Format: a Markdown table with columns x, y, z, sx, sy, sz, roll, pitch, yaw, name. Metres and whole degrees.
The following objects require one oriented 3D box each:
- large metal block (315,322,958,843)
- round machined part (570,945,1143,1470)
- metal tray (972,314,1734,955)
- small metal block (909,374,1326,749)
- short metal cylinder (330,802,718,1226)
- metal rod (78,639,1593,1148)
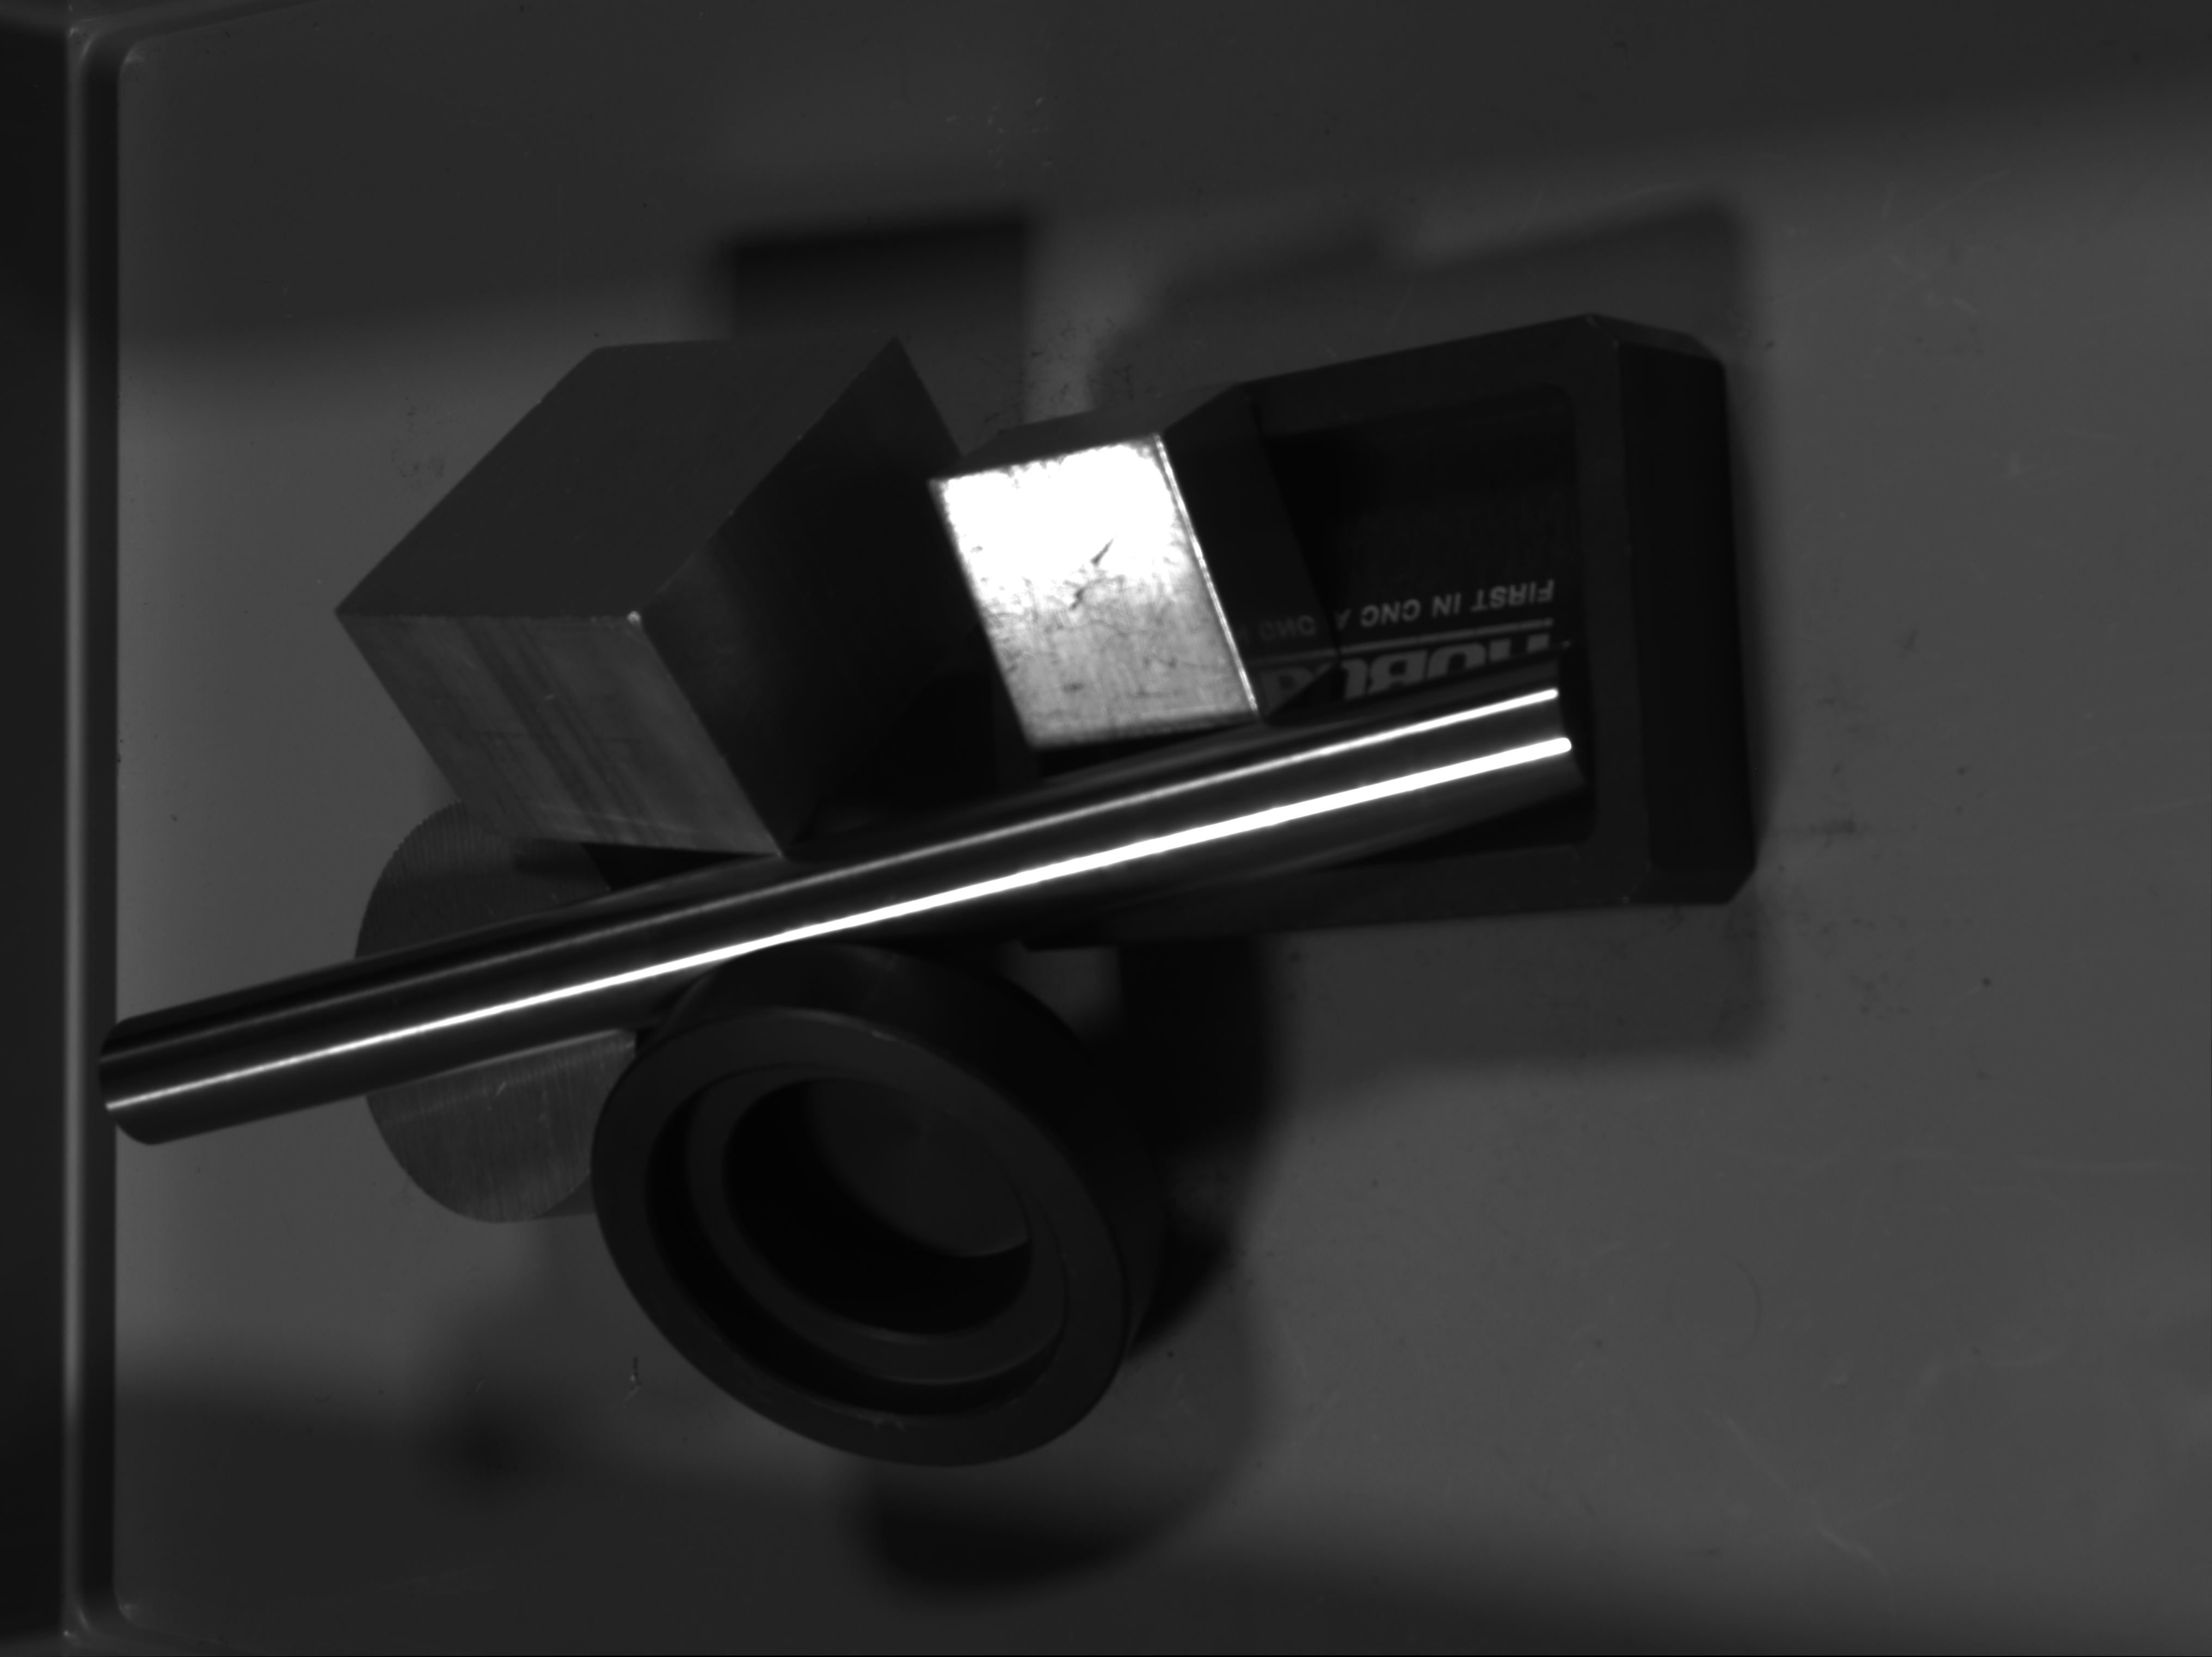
| x | y | z | sx | sy | sz | roll | pitch | yaw | name |
| --- | --- | --- | --- | --- | --- | --- | --- | --- | --- |
| -0.079 | -0.045 | 0.654 | 0.080 | 0.080 | 0.050 | 4 | 134 | 40 | large metal block |
| -0.040 | 0.060 | 0.635 | 0.098 | 0.042 | 0.098 | 11 | 125 | 16 | round machined part |
| 0.036 | -0.028 | 0.601 | 0.130 | 0.030 | 0.090 | -6 | 86 | 39 | metal tray |
| 0.002 | -0.044 | 0.606 | 0.050 | 0.025 | 0.050 | -6 | 112 | 40 | small metal block |
| -0.104 | 0.034 | 0.703 | 0.080 | 0.050 | 0.080 | 0 | 90 | 39 | short metal cylinder |
| -0.058 | 0.016 | 0.629 | 0.299 | 0.025 | 0.025 | -14 | 81 | 27 | metal rod |
